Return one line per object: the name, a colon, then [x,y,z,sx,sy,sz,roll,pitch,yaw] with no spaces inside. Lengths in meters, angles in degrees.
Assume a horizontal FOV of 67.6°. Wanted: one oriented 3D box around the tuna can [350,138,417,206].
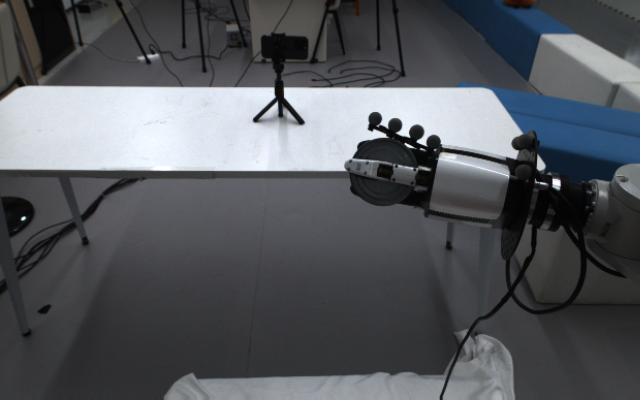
tuna can: [0.084,-0.038,0.617,0.085,0.085,0.034,13,2,16]
